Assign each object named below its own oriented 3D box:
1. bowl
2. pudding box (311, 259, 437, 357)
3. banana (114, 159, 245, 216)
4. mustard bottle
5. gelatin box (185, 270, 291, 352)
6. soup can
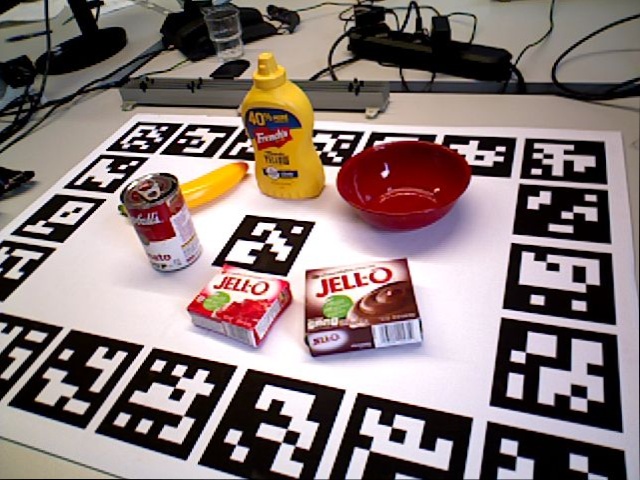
[{"bbox_3d":[0.115,-0.059,0.664,0.161,0.056,0.159,-8,38,6],"label":"bowl"},{"bbox_3d":[0.050,0.063,0.541,0.113,0.039,0.088,-10,45,2],"label":"pudding box"},{"bbox_3d":[-0.190,-0.070,0.761,0.194,0.039,0.074,-25,31,-16],"label":"banana"},{"bbox_3d":[-0.051,-0.150,0.682,0.096,0.195,0.057,7,40,19],"label":"mustard bottle"},{"bbox_3d":[-0.086,0.072,0.572,0.090,0.031,0.071,11,47,25],"label":"gelatin box"},{"bbox_3d":[-0.191,-0.027,0.644,0.068,0.104,0.067,-5,39,3],"label":"soup can"}]
